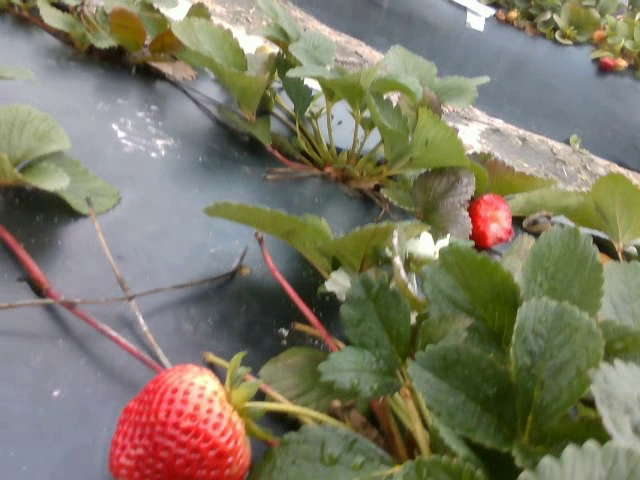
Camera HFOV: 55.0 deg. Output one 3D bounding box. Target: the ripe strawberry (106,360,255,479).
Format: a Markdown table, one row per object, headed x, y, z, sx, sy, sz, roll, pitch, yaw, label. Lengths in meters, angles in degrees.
| x | y | z | sx | sy | sz | roll | pitch | yaw | label |
| --- | --- | --- | --- | --- | --- | --- | --- | --- | --- |
| -0.059 | 0.075 | 0.242 | 0.065 | 0.061 | 0.049 | -35 | -19 | -18 | ripe strawberry |
